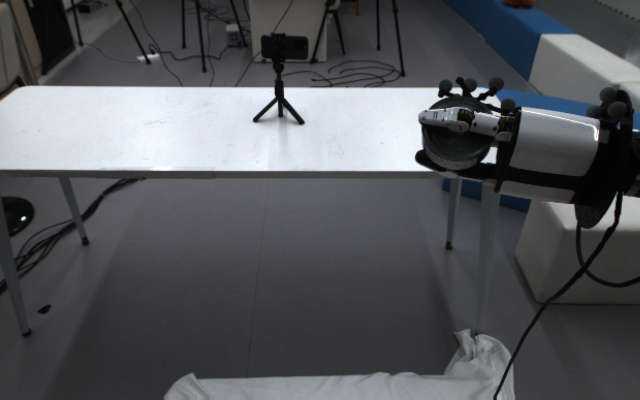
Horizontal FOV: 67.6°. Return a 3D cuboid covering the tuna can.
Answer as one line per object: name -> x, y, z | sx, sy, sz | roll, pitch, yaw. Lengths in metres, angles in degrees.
tuna can -> 0.167, -0.085, 0.587 | 0.085, 0.034, 0.085 | -4, 66, 10
